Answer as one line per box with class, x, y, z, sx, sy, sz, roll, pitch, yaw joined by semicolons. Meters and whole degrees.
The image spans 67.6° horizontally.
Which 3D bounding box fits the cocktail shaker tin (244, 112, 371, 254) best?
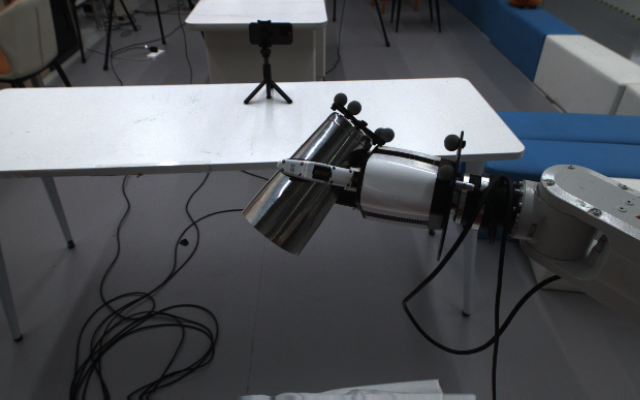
cocktail shaker tin;-0.009;-0.028;0.617;0.170;0.093;0.093;-50;46;4
